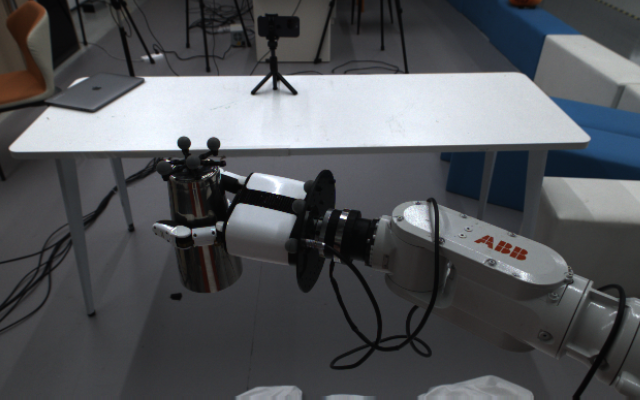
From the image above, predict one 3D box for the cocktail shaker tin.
[{"bbox_3d":[-0.158,0.031,0.659,0.093,0.170,0.093,-1,32,1],"label":"cocktail shaker tin"}]
